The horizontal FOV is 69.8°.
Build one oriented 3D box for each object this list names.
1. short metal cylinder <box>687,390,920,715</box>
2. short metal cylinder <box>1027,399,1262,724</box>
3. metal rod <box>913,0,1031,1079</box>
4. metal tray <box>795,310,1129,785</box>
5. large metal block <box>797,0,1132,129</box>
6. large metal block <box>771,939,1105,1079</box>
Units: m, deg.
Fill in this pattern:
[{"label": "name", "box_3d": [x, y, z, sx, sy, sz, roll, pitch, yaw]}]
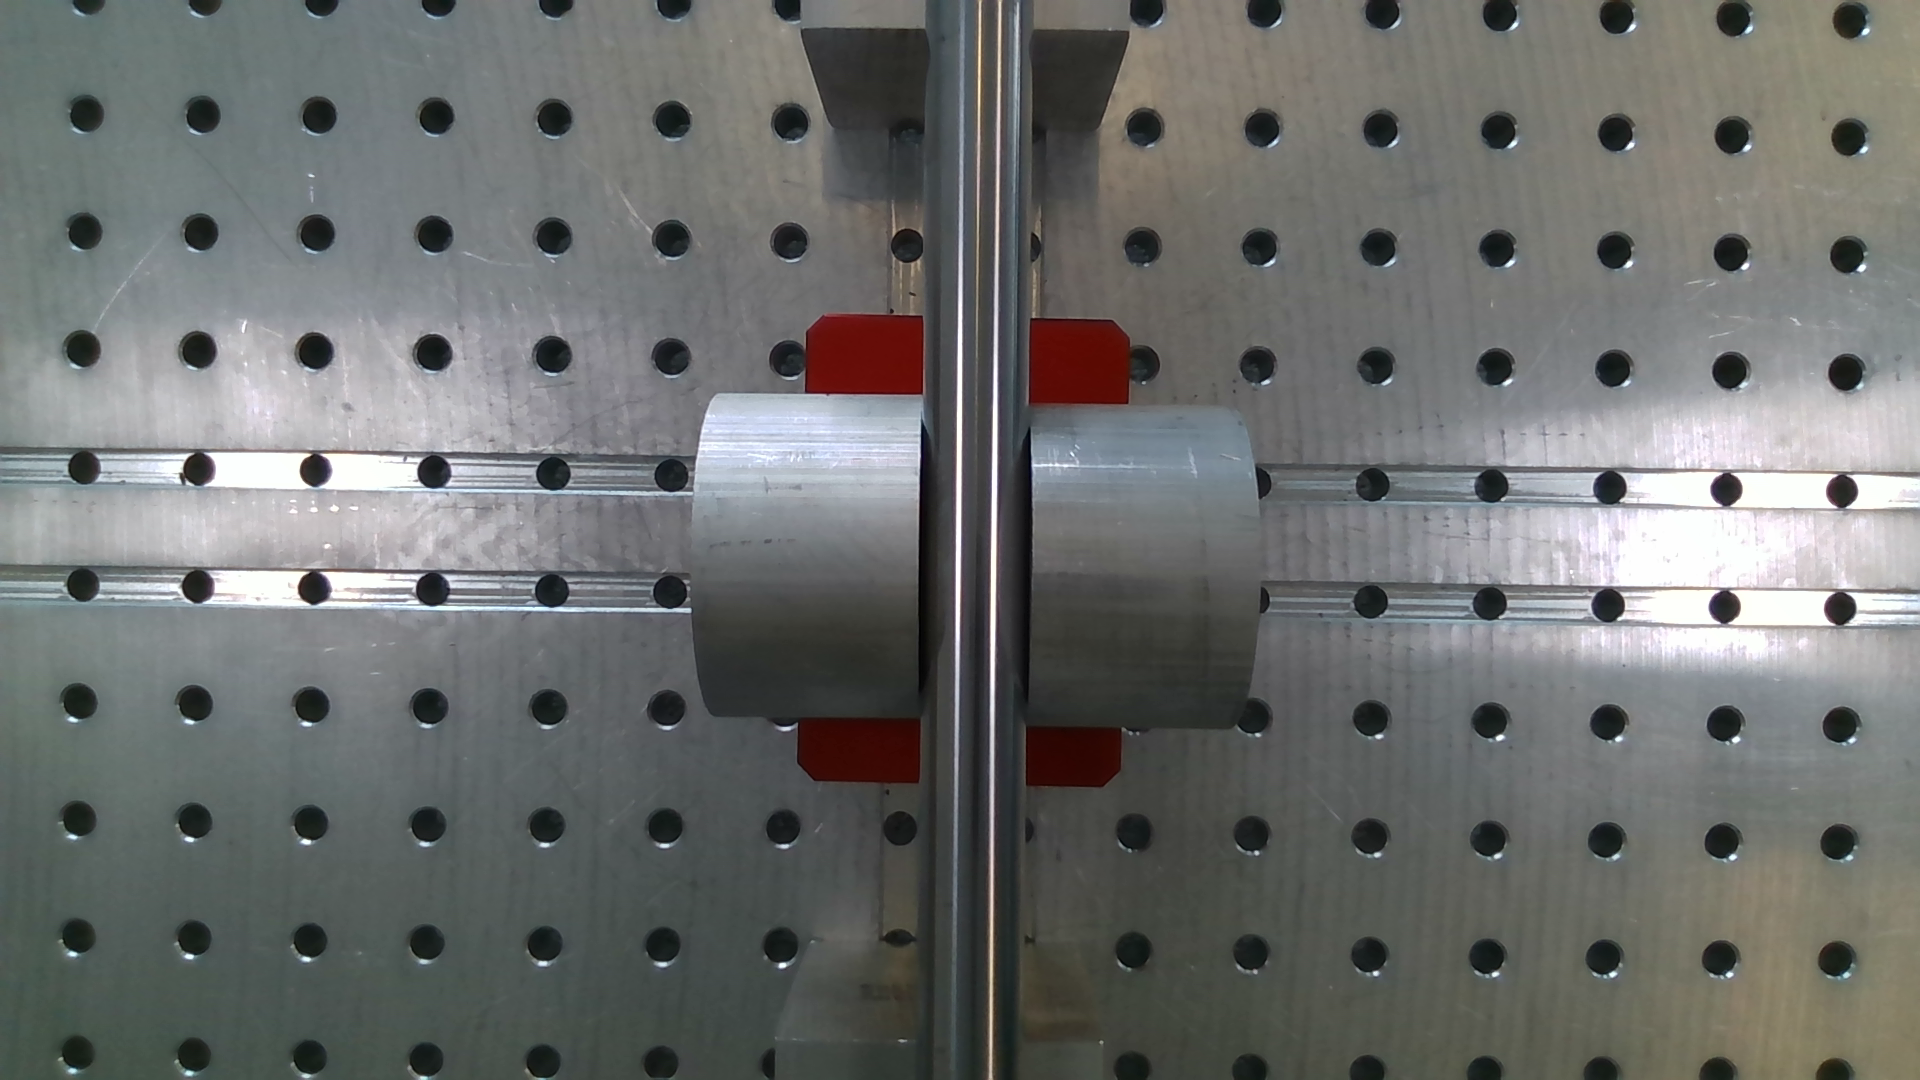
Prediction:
[{"label": "short metal cylinder", "box_3d": [-0.035, 0.003, 0.340, 0.050, 0.080, 0.080, 1, 90, 0]}, {"label": "short metal cylinder", "box_3d": [0.041, 0.006, 0.340, 0.050, 0.080, 0.080, 1, 90, 0]}, {"label": "metal rod", "box_3d": [0.003, -0.003, 0.317, 0.025, 0.025, 0.300, 1, 90, 0]}, {"label": "metal tray", "box_3d": [0.001, 0.002, 0.395, 0.090, 0.030, 0.130, 1, 90, 0]}, {"label": "large metal block", "box_3d": [0.001, -0.148, 0.368, 0.080, 0.080, 0.050, 1, 90, 0]}, {"label": "large metal block", "box_3d": [-0.005, 0.144, 0.370, 0.080, 0.080, 0.050, 1, 90, 0]}]
